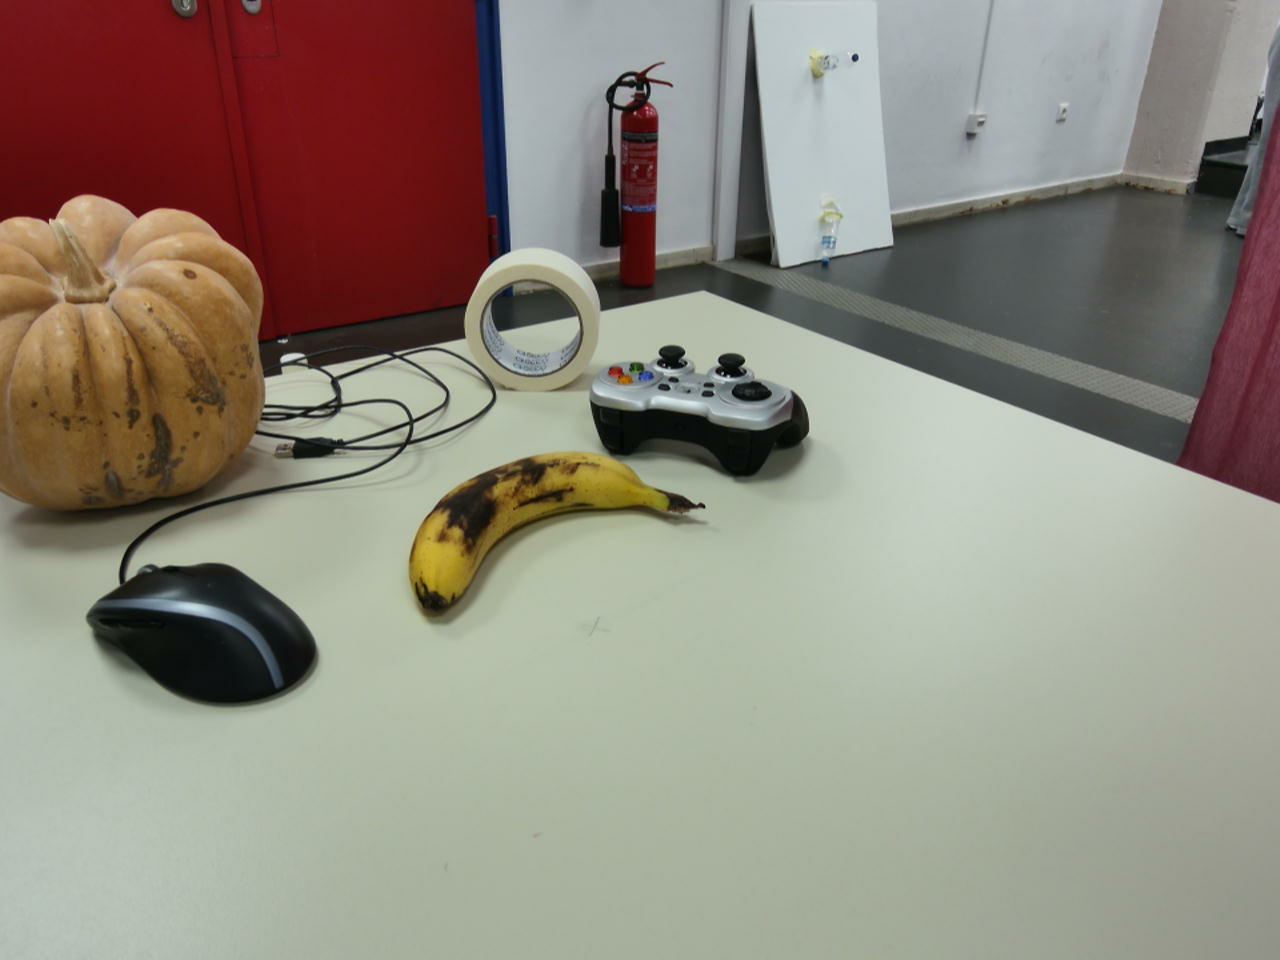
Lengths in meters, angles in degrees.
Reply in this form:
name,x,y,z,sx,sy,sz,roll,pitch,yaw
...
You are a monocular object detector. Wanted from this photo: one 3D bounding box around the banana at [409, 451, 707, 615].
name,x,y,z,sx,sy,sz,roll,pitch,yaw
banana,-0.063,0.019,0.587,0.187,0.039,0.094,-19,32,-35
